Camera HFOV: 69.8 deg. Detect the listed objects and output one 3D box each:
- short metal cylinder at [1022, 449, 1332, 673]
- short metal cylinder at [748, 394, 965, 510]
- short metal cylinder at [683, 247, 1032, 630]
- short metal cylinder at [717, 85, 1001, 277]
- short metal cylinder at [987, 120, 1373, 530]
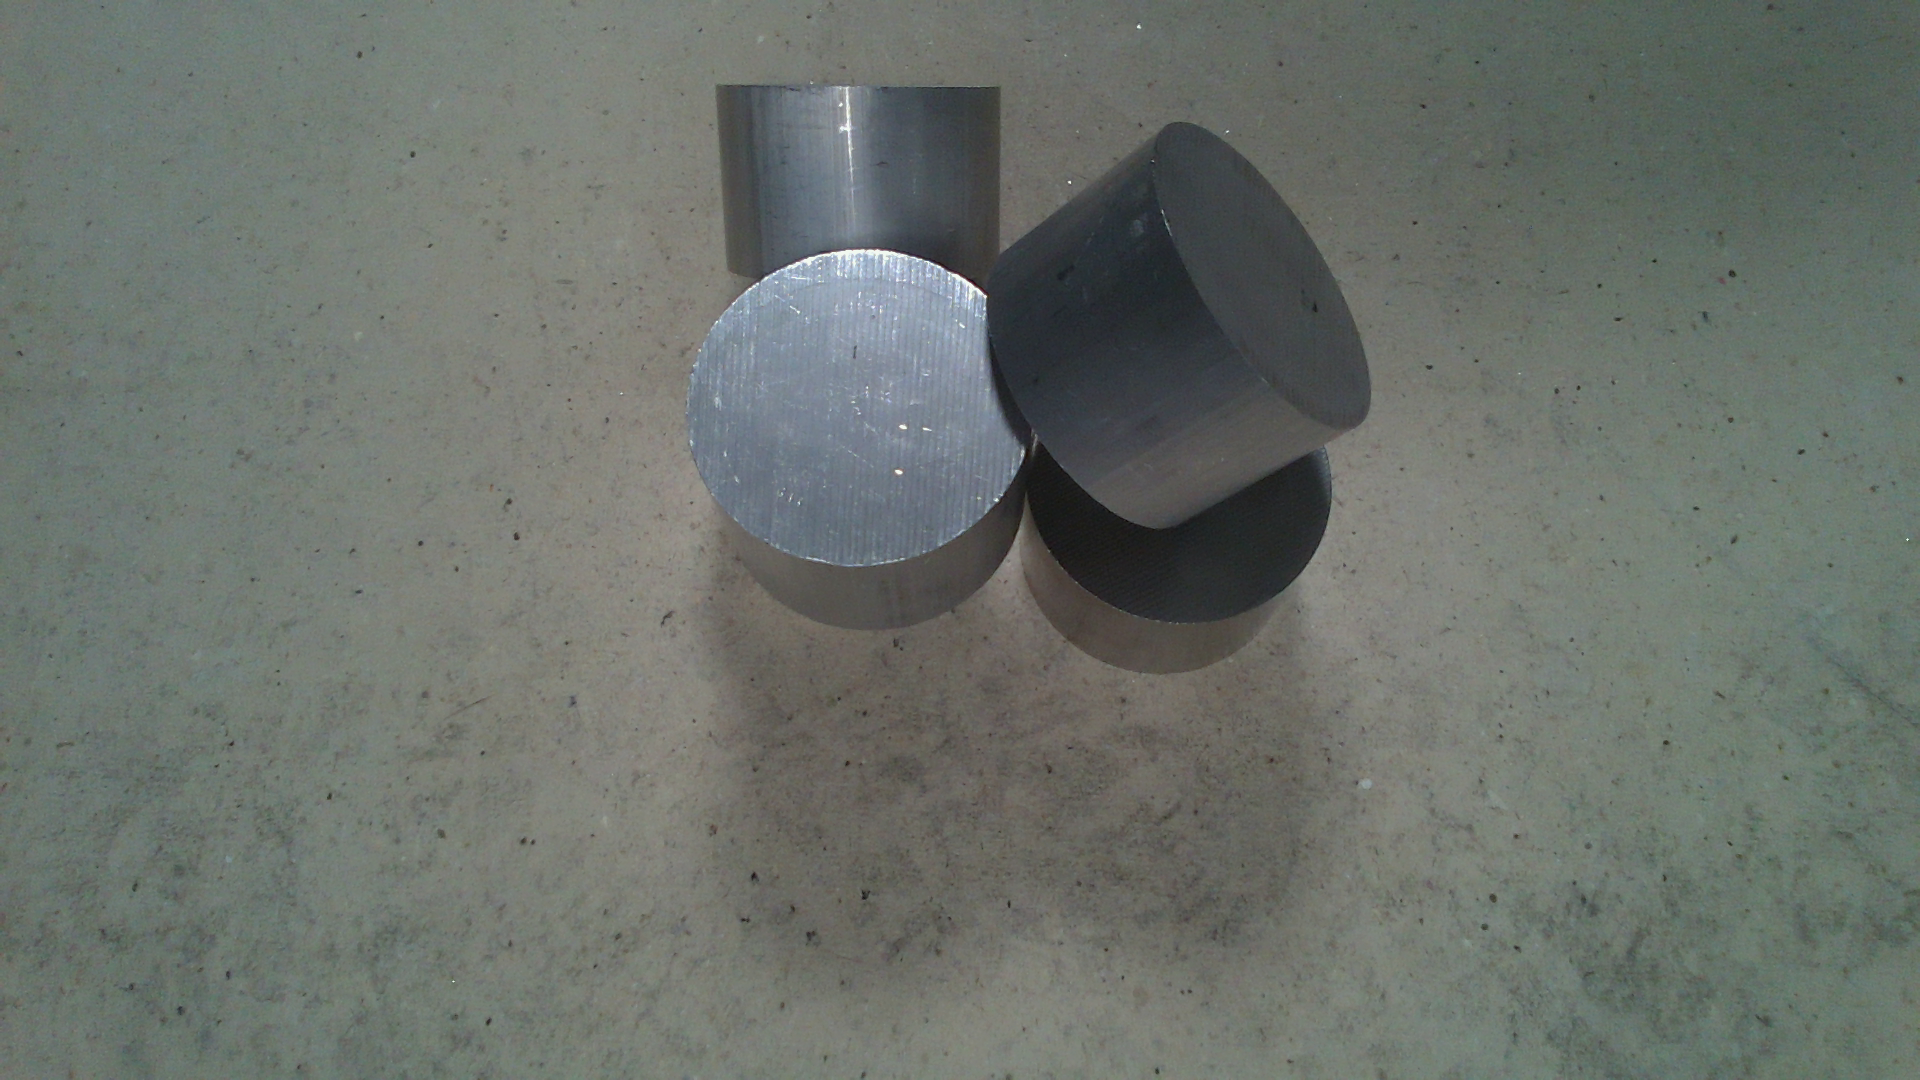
[{"bbox_3d":[0.058,-0.008,0.384,0.080,0.050,0.080,0,70,0],"label":"short metal cylinder"},{"bbox_3d":[-0.032,-0.027,0.391,0.080,0.050,0.080,0,70,0],"label":"short metal cylinder"},{"bbox_3d":[-0.023,-0.023,0.336,0.080,0.050,0.080,0,70,0],"label":"short metal cylinder"},{"bbox_3d":[-0.028,-0.105,0.397,0.080,0.080,0.050,0,109,0],"label":"short metal cylinder"},{"bbox_3d":[0.052,-0.049,0.323,0.050,0.080,0.080,-32,67,35],"label":"short metal cylinder"}]
